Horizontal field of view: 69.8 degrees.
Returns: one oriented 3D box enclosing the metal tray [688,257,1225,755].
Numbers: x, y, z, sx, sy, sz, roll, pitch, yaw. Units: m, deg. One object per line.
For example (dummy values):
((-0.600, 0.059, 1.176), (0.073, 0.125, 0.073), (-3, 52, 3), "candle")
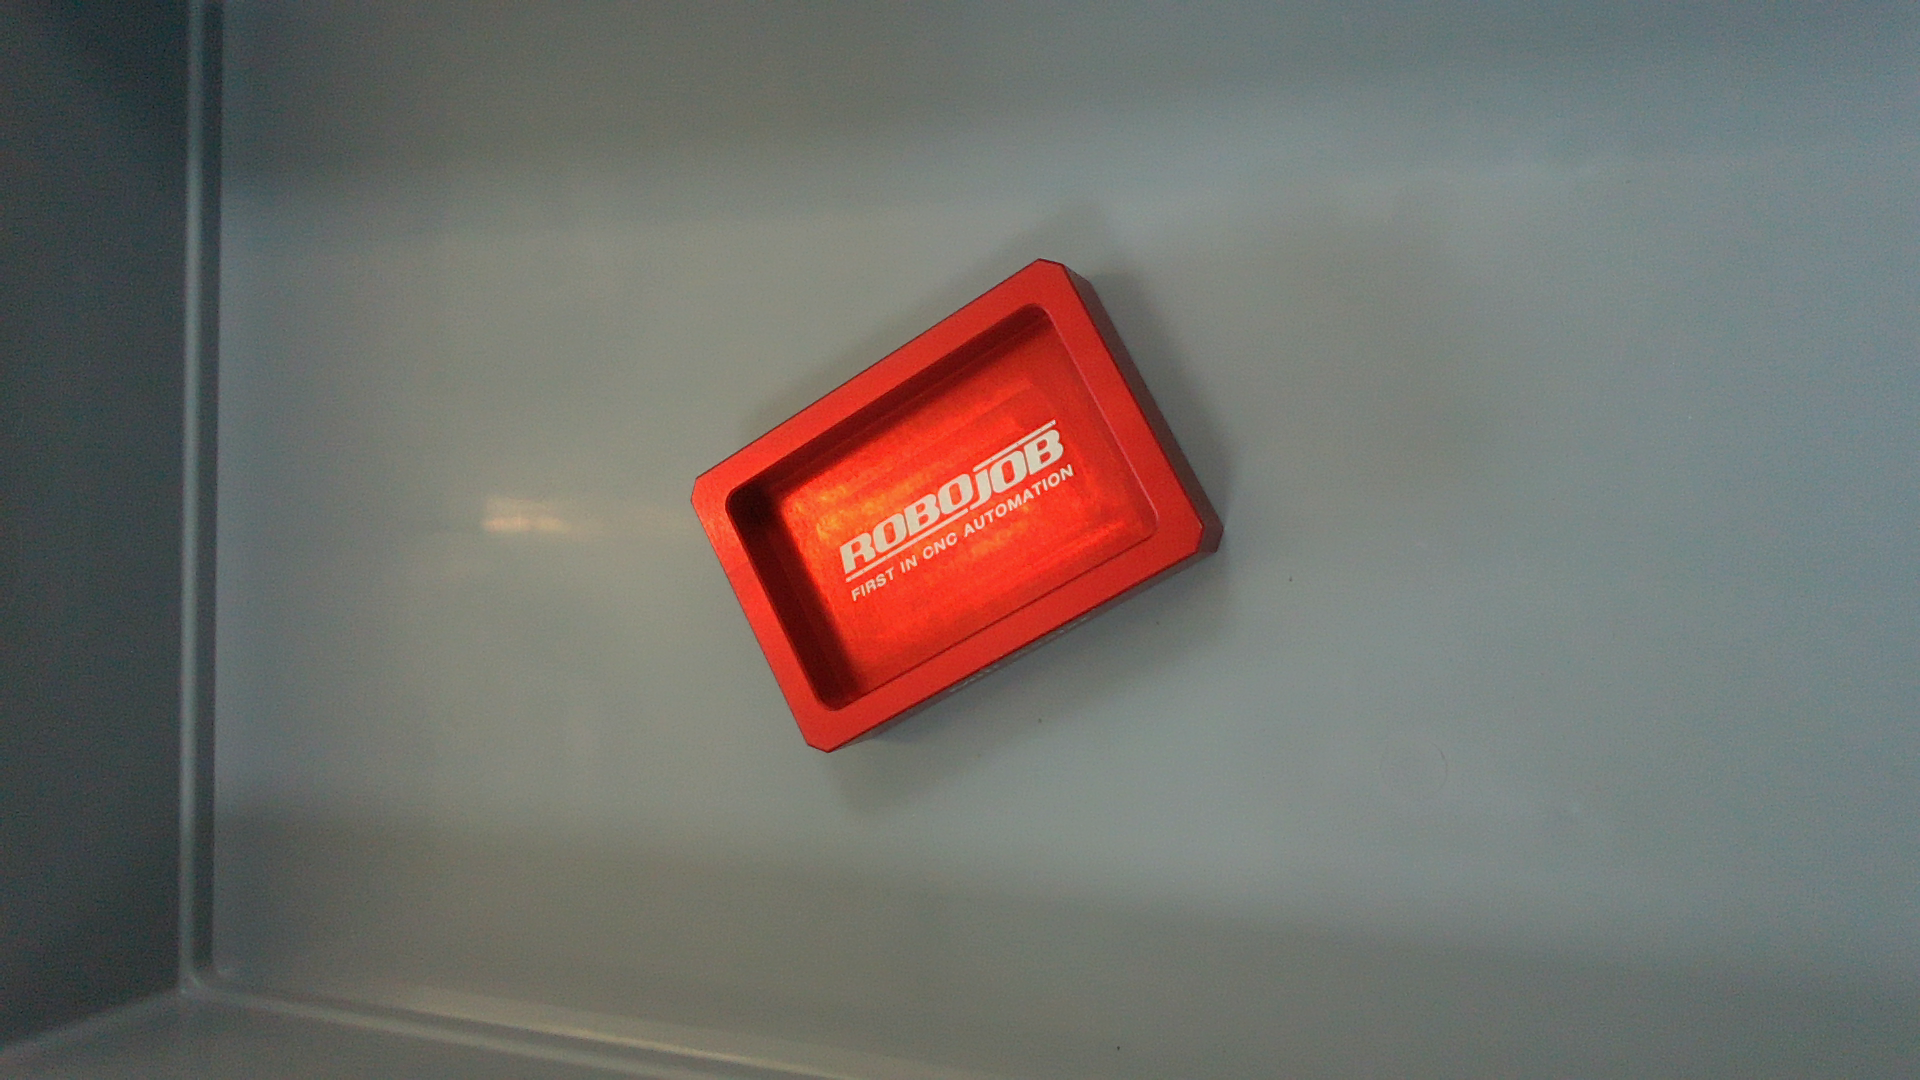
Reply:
((-0.003, -0.007, 0.391), (0.130, 0.030, 0.090), (-30, 81, 17), "metal tray")
